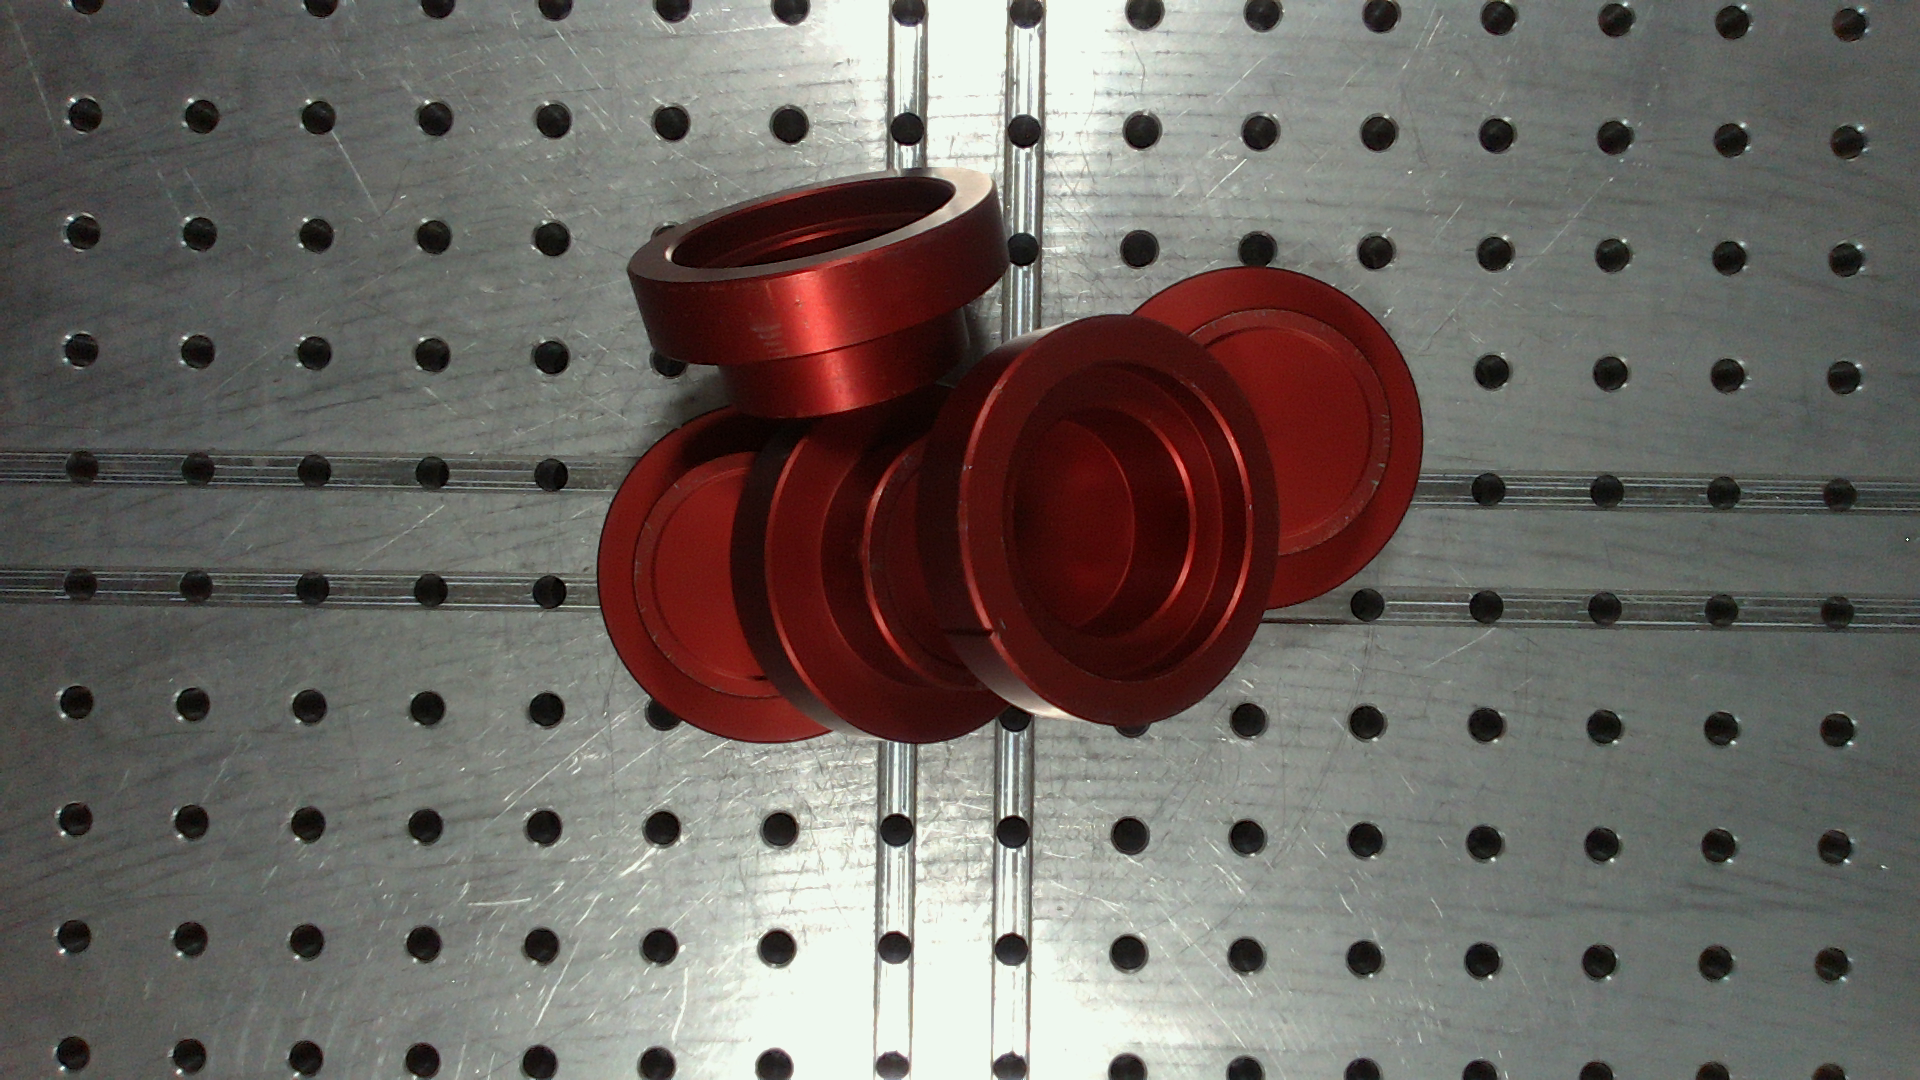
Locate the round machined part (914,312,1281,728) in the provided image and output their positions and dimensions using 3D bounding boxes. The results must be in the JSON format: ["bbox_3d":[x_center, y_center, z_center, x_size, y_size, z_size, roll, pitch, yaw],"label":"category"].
[{"bbox_3d":[0.030,-0.004,0.341,0.098,0.042,0.098,1,88,-33],"label":"round machined part"}]

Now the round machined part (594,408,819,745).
[{"bbox_3d":[-0.055,0.009,0.389,0.098,0.042,0.098,0,90,0],"label":"round machined part"}]

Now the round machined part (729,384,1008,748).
[{"bbox_3d":[-0.008,0.006,0.365,0.098,0.042,0.098,3,85,-37],"label":"round machined part"}]

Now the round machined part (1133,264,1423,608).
[{"bbox_3d":[0.082,-0.029,0.389,0.098,0.042,0.098,0,90,0],"label":"round machined part"}]

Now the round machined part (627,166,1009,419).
[{"bbox_3d":[-0.035,-0.065,0.366,0.098,0.098,0.042,-13,116,0],"label":"round machined part"}]
